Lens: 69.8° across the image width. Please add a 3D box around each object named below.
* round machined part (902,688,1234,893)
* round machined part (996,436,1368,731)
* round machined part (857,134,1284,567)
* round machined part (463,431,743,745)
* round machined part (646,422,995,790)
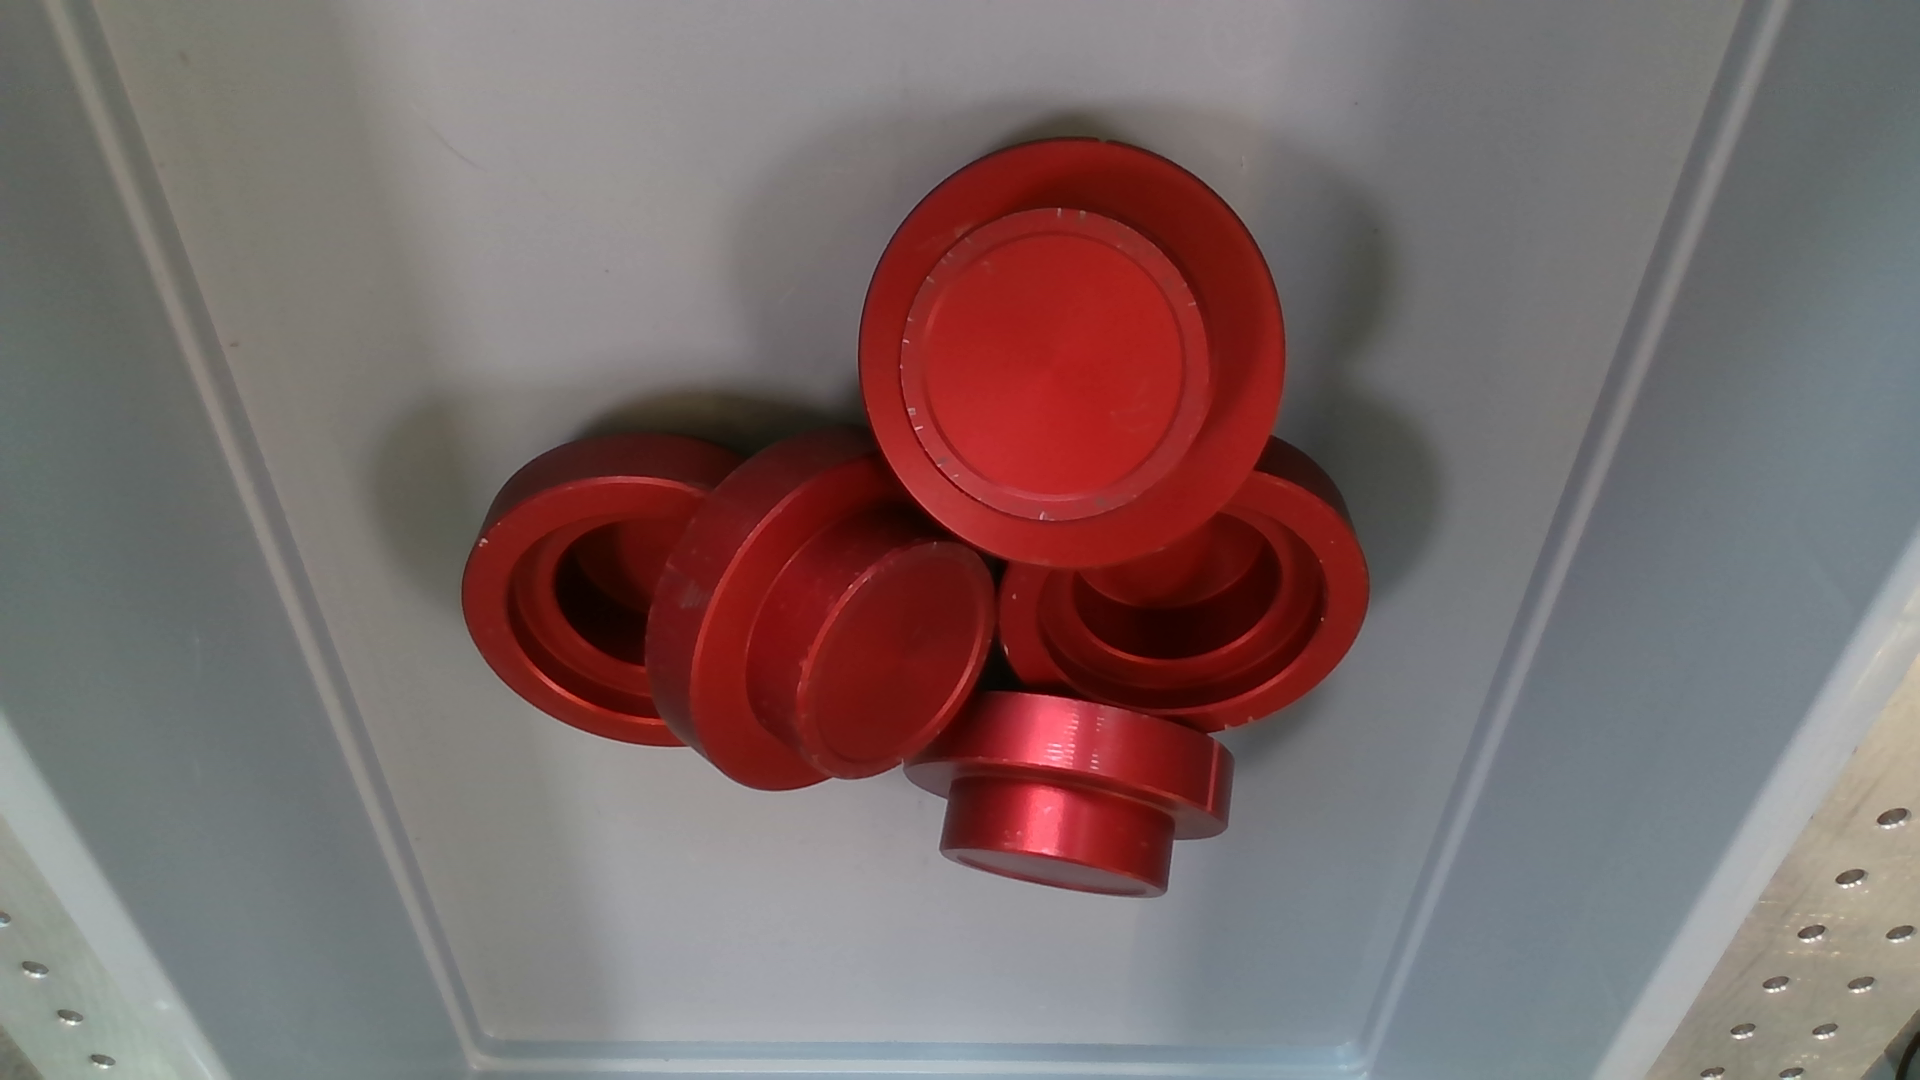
[{"bbox_3d":[0.031,0.079,0.413,0.098,0.042,0.098,10,161,3],"label":"round machined part"},{"bbox_3d":[0.058,0.006,0.380,0.098,0.042,0.098,0,130,0],"label":"round machined part"},{"bbox_3d":[0.023,-0.041,0.313,0.098,0.042,0.098,2,103,11],"label":"round machined part"},{"bbox_3d":[-0.083,0.009,0.383,0.098,0.042,0.098,0,130,0],"label":"round machined part"},{"bbox_3d":[-0.029,0.022,0.358,0.042,0.098,0.098,29,142,36],"label":"round machined part"}]
